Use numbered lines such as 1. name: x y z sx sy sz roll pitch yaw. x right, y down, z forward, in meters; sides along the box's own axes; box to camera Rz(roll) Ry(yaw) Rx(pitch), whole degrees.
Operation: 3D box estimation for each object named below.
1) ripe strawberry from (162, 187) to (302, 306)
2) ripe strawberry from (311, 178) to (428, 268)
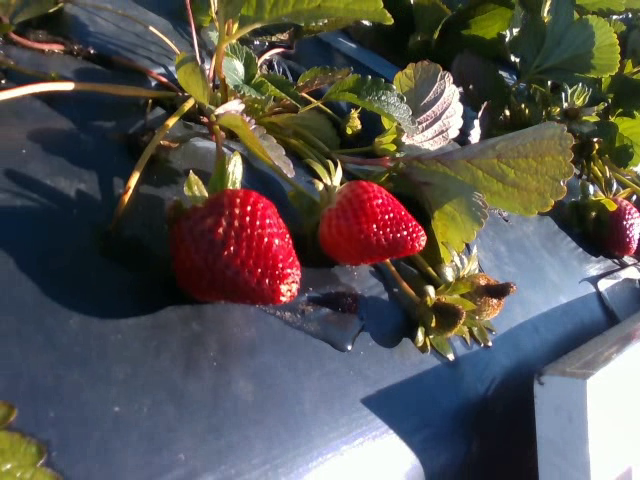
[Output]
1. ripe strawberry: -0.024 0.006 0.198 0.050 0.045 0.050 17 10 -46
2. ripe strawberry: 0.023 -0.005 0.253 0.049 0.042 0.039 20 -29 23
